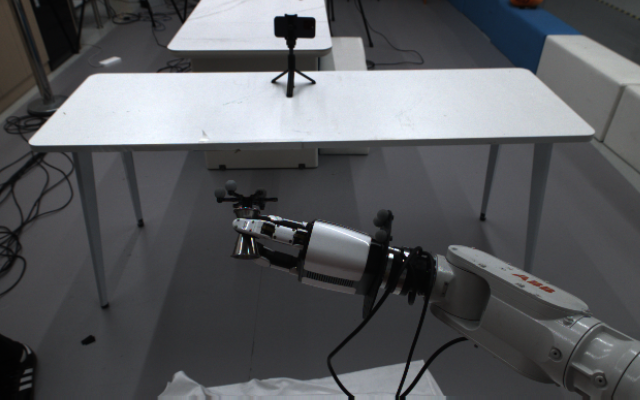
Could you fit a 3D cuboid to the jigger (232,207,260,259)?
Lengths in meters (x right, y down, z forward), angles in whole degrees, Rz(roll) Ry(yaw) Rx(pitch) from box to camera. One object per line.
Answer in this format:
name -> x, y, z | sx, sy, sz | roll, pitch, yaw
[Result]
jigger -> -0.105, 0.047, 0.693 | 0.043, 0.043, 0.071 | 0, 76, -3
